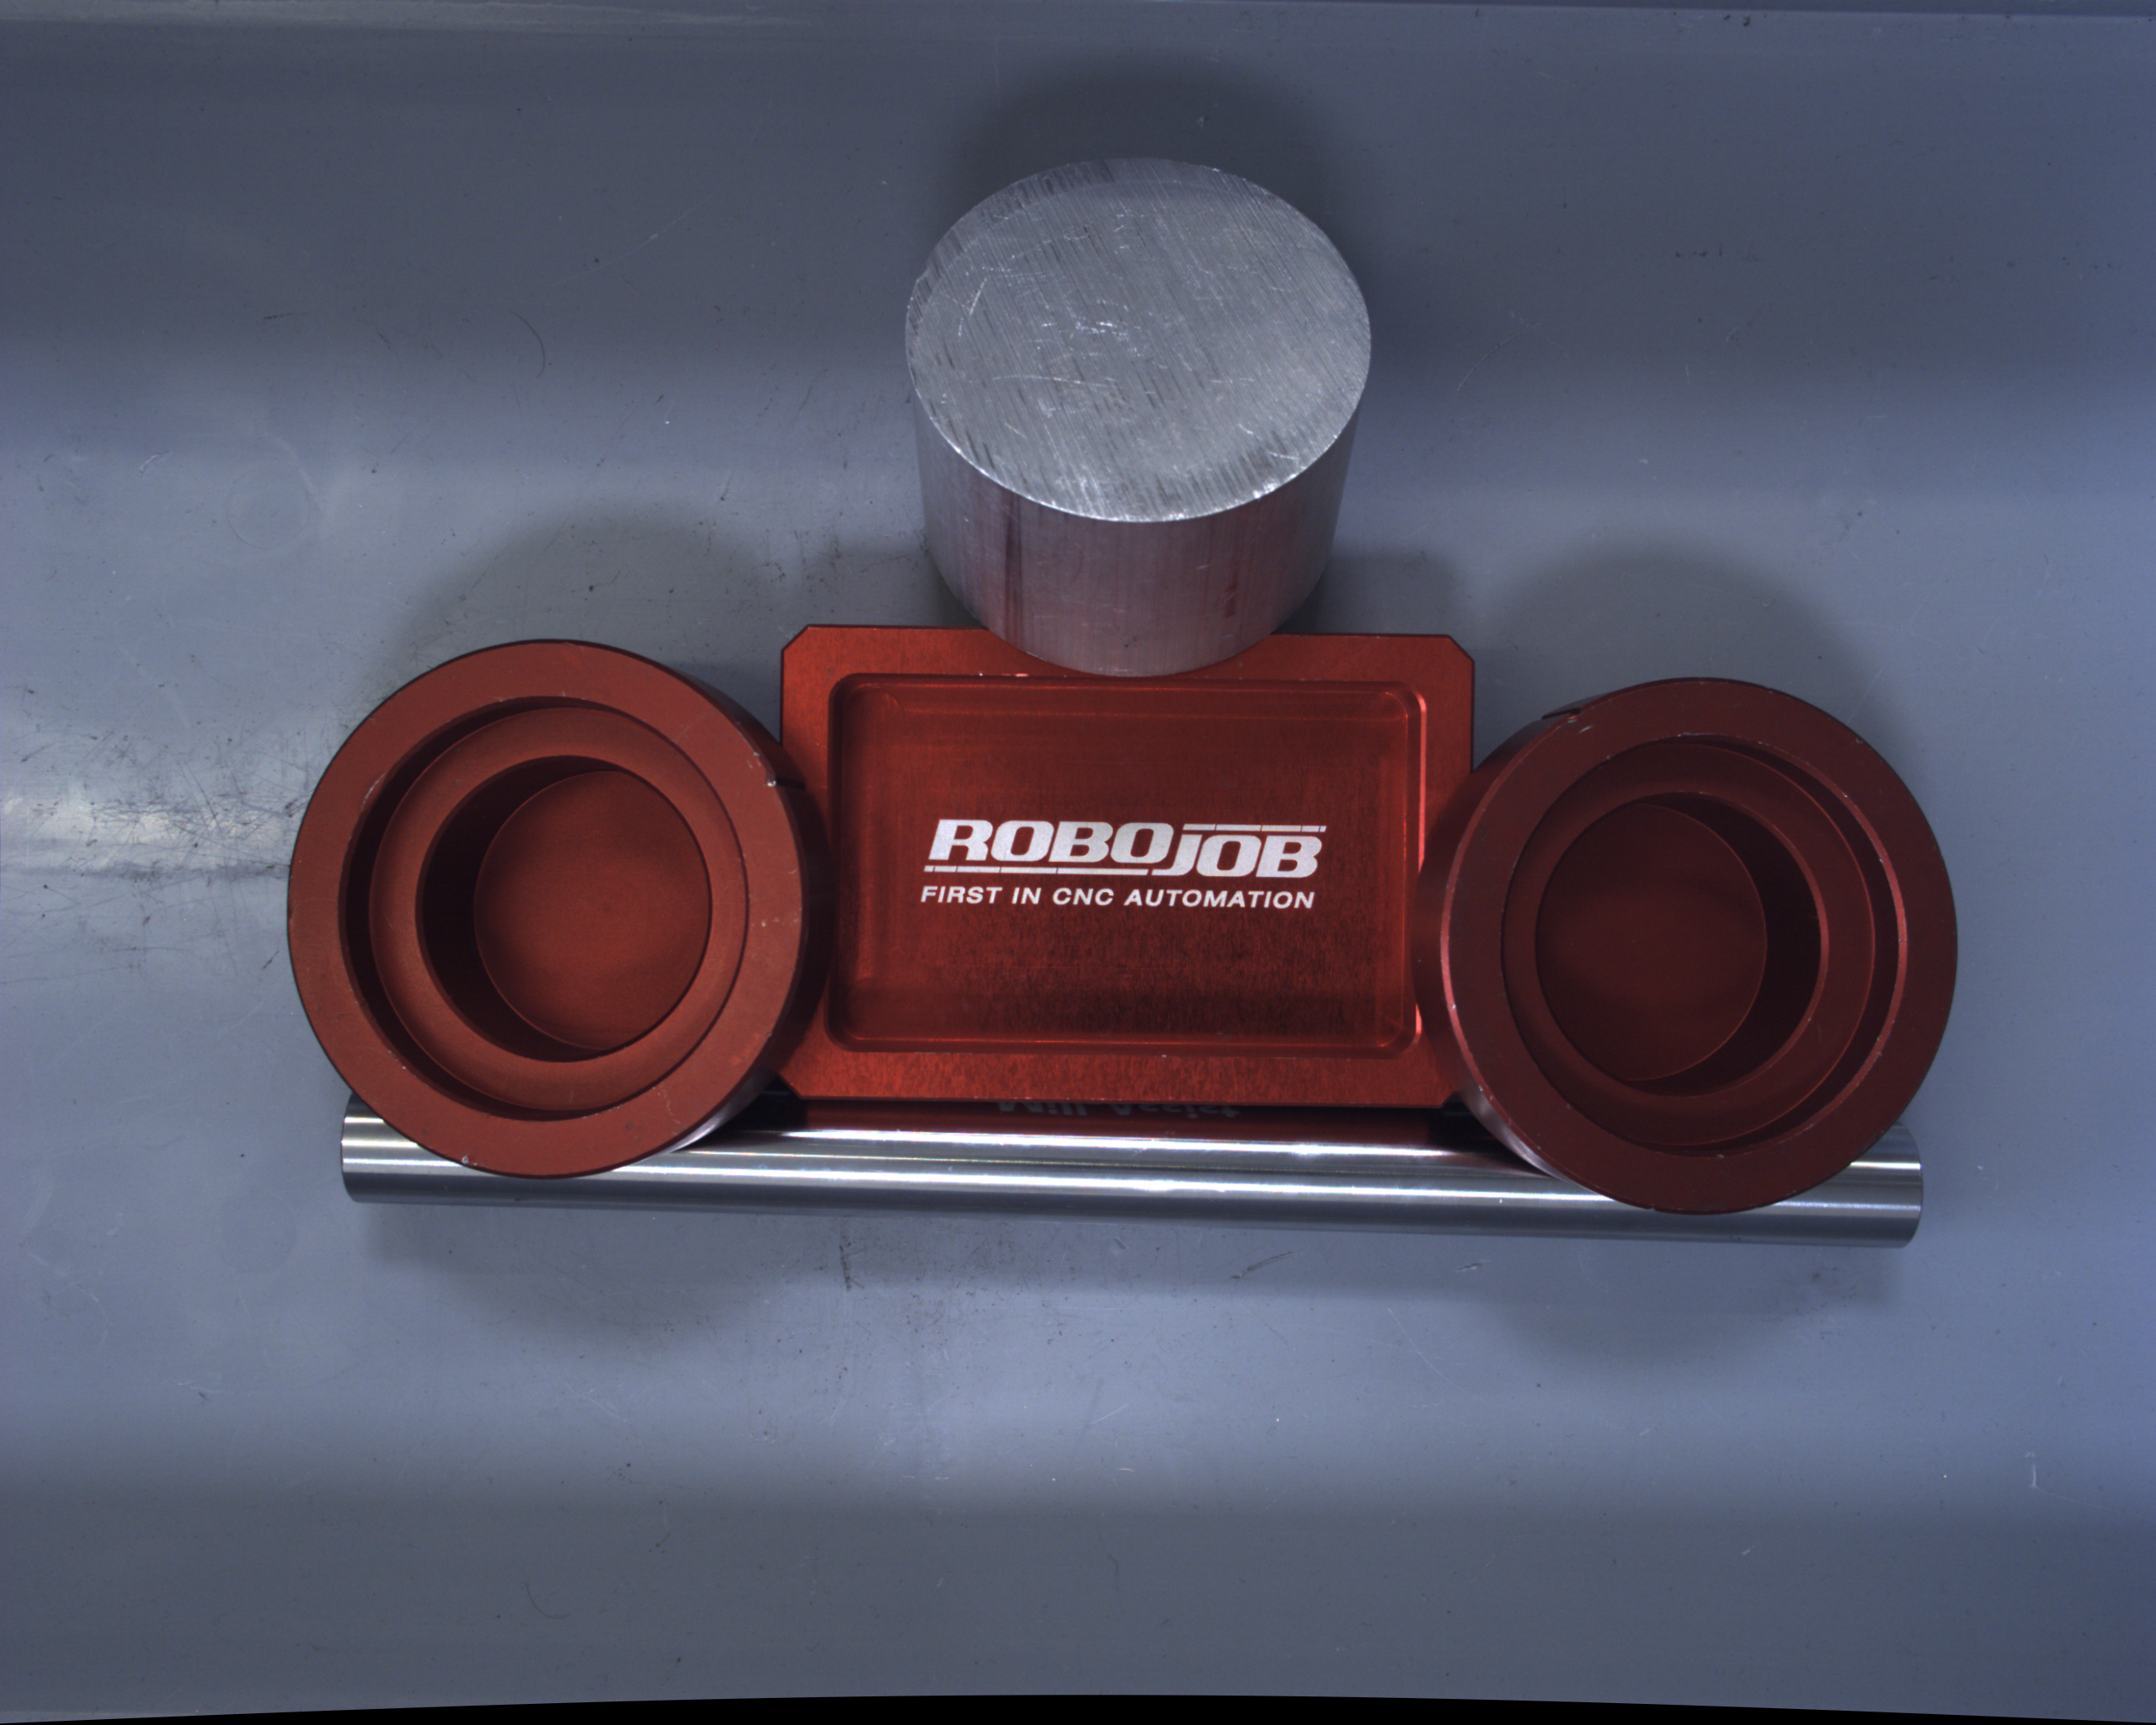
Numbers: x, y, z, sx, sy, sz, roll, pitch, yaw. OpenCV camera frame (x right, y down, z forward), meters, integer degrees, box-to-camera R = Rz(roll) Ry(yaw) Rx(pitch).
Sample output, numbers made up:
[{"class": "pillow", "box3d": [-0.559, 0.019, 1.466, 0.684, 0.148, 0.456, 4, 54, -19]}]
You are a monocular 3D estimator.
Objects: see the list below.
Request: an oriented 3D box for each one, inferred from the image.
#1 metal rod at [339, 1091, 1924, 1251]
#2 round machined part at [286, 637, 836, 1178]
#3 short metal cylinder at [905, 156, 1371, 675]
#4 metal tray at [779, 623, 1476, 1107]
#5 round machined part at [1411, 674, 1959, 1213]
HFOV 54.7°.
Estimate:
[{"class": "metal rod", "box3d": [0.011, 0.059, 0.409, 0.302, 0.025, 0.025, 2, 90, 0]}, {"class": "round machined part", "box3d": [-0.094, 0.009, 0.395, 0.099, 0.042, 0.097, 0, 87, 8]}, {"class": "short metal cylinder", "box3d": [0.010, -0.081, 0.382, 0.081, 0.050, 0.080, 0, 64, 0]}, {"class": "metal tray", "box3d": [0.009, 0.000, 0.406, 0.131, 0.030, 0.089, 1, 91, -1]}, {"class": "round machined part", "box3d": [0.111, 0.015, 0.397, 0.099, 0.042, 0.097, 0, 88, -8]}]
